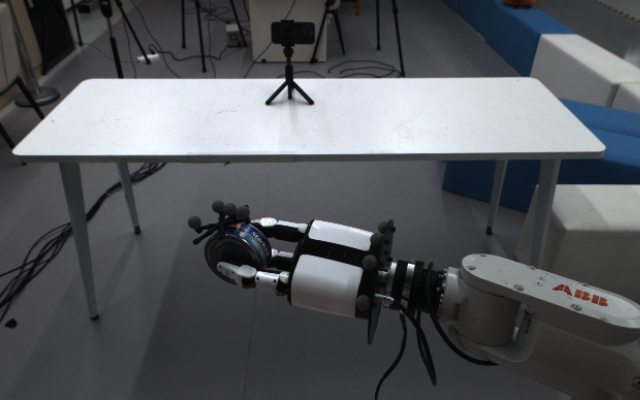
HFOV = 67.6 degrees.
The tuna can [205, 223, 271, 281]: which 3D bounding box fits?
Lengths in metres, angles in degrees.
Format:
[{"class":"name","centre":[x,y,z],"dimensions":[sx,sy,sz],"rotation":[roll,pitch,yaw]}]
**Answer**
[{"class":"tuna can","centre":[-0.107,0.078,0.645],"dimensions":[0.085,0.085,0.034],"rotation":[11,34,13]}]
